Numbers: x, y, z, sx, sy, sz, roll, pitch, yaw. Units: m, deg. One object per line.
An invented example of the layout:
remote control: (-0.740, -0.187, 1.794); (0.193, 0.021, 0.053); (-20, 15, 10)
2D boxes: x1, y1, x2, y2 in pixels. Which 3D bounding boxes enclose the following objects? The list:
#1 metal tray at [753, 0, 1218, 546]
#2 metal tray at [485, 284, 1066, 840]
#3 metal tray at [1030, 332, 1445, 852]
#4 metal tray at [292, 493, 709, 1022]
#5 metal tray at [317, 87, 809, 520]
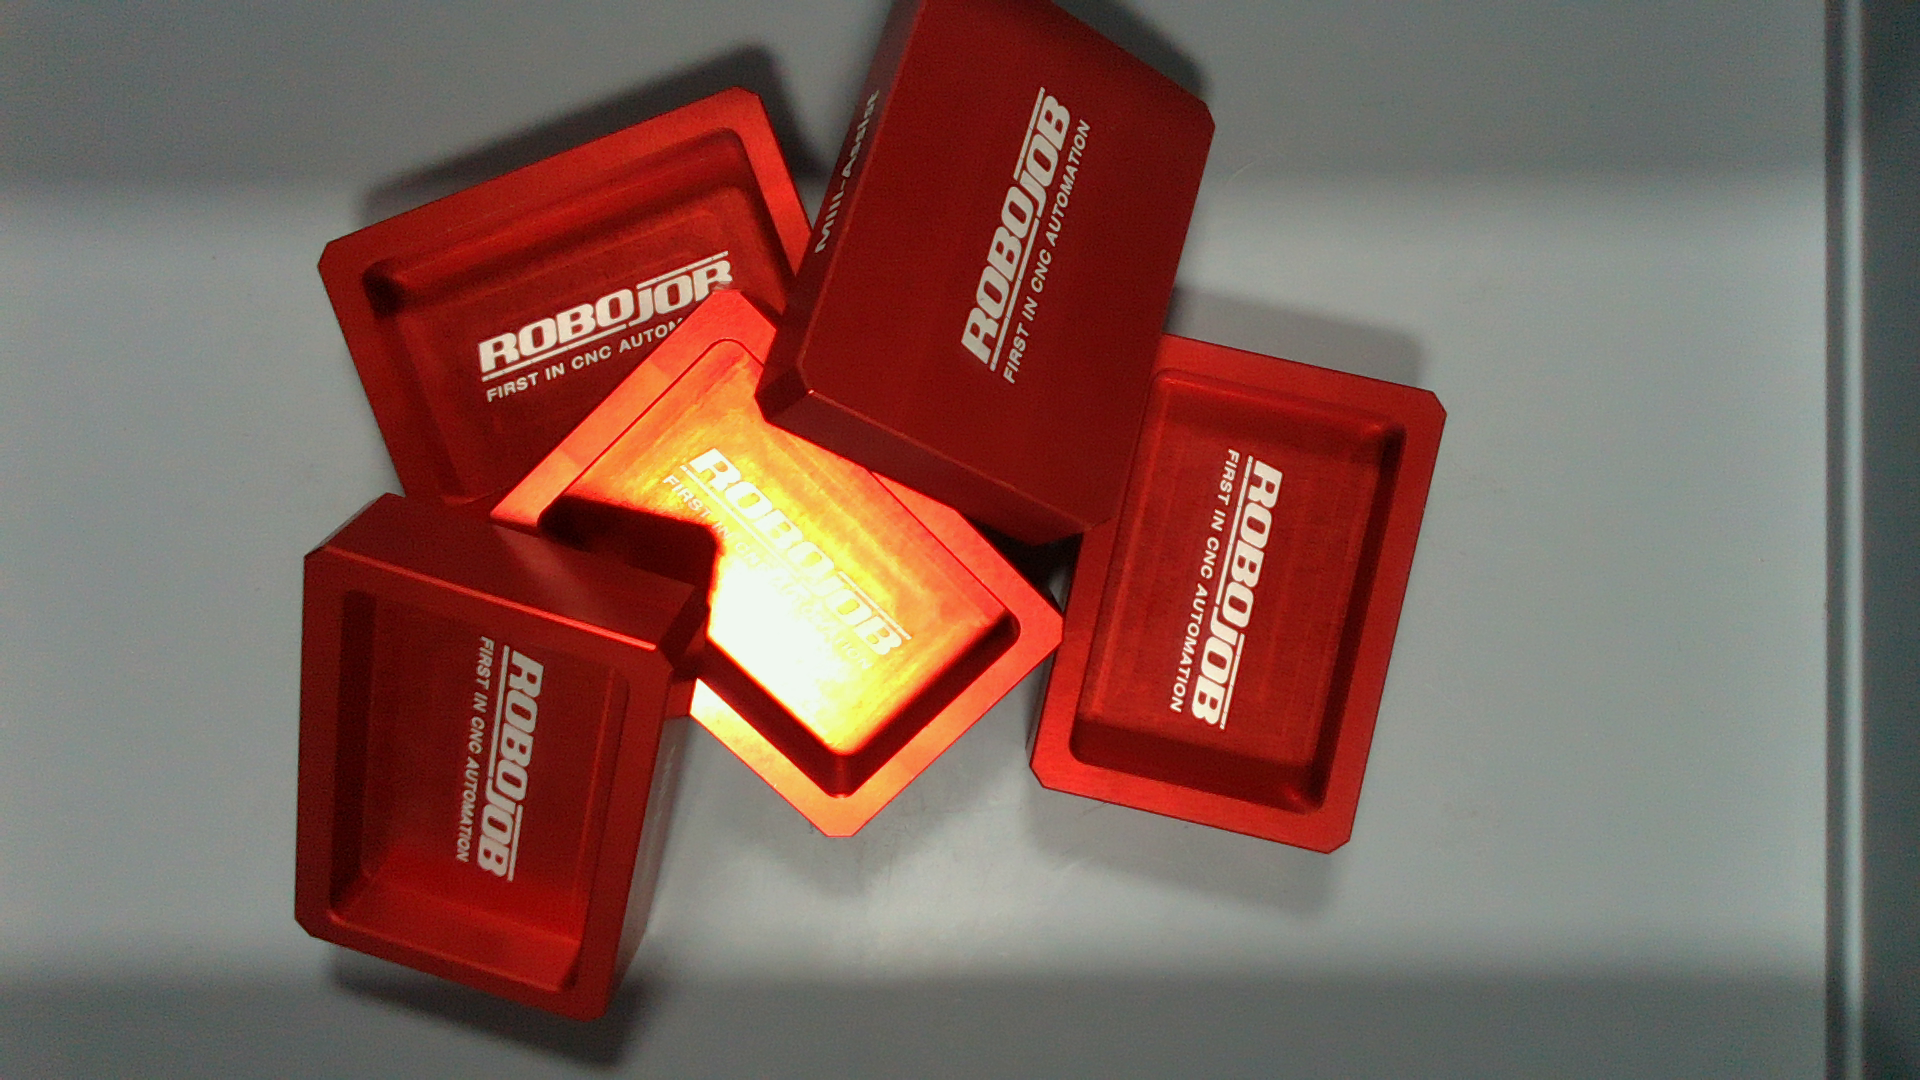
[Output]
metal tray: (0.011, -0.075, 0.357); (0.090, 0.030, 0.130); (25, 70, -23)
metal tray: (-0.047, 0.007, 0.370); (0.090, 0.030, 0.130); (-43, 105, 7)
metal tray: (0.076, 0.014, 0.392); (0.090, 0.030, 0.130); (12, 90, 0)
metal tray: (-0.124, 0.061, 0.362); (0.090, 0.030, 0.130); (17, 119, 0)
metal tray: (-0.101, -0.061, 0.391); (0.130, 0.030, 0.090); (-21, 90, 0)
